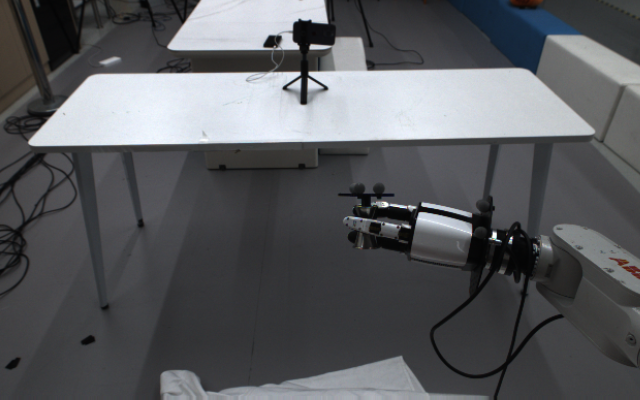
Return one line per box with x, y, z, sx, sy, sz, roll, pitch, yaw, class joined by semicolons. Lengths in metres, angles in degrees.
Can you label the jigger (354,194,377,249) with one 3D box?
0.074;0.041;0.779;0.043;0.071;0.043;-1;2;0;jigger
